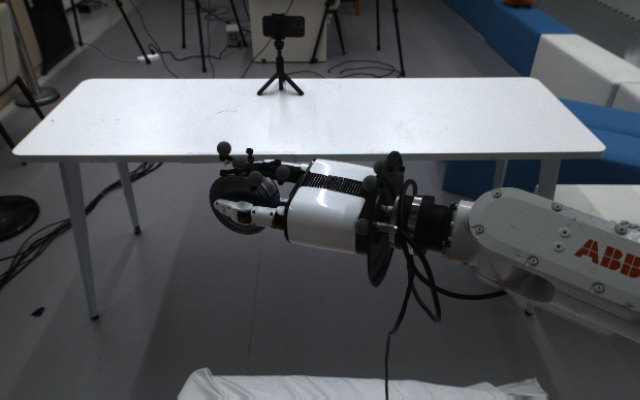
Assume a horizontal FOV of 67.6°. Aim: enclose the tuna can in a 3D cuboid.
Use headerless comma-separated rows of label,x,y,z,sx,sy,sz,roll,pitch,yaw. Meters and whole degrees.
tuna can,-0.094,0.000,0.617,0.085,0.085,0.034,12,30,15
